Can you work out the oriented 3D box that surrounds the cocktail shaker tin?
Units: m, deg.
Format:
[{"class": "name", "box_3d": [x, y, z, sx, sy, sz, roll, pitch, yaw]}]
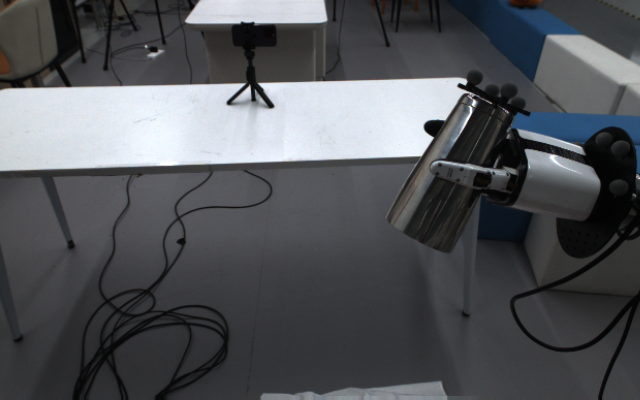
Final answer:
[{"class": "cocktail shaker tin", "box_3d": [0.159, -0.036, 0.574, 0.093, 0.170, 0.093, 24, 12, -6]}]
